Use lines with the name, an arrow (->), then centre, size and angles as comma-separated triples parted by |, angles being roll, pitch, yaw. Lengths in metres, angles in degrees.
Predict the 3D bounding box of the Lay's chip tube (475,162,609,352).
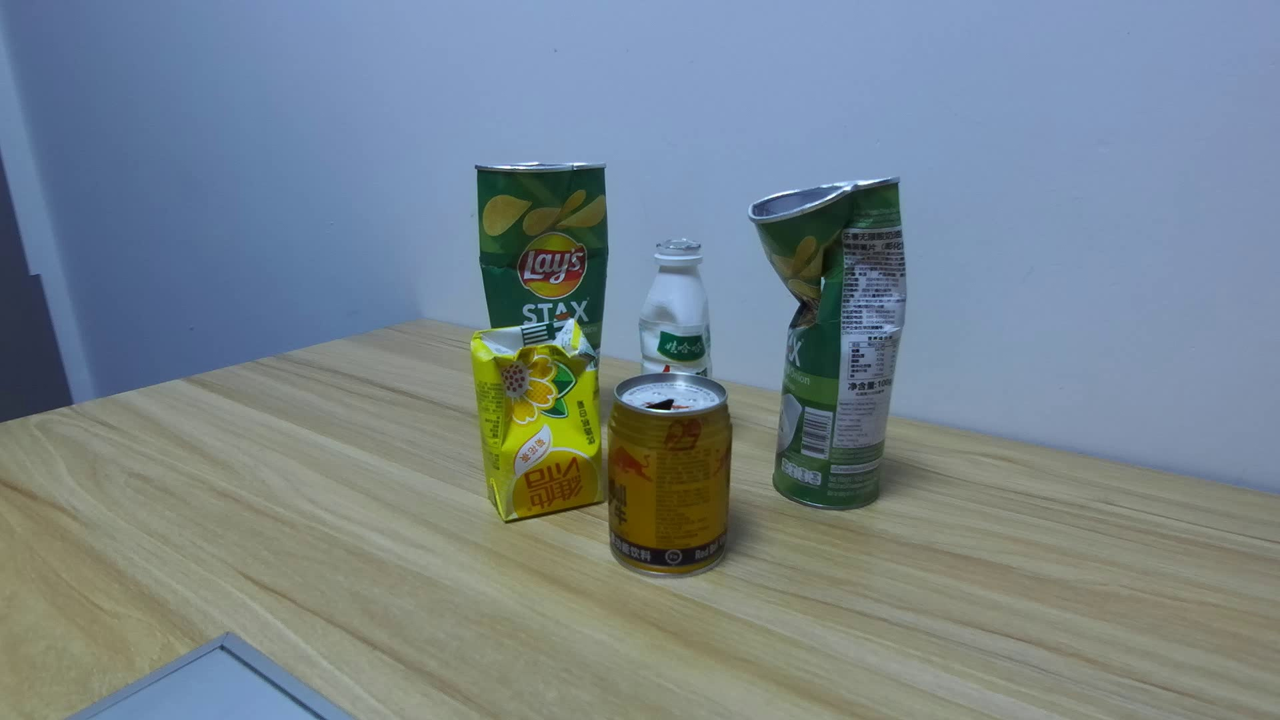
Lay's chip tube -> -0.069, -0.043, 0.530 | 0.068, 0.199, 0.075 | 11, 20, 32

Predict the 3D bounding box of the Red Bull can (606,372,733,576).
Red Bull can -> 0.017, 0.059, 0.381 | 0.067, 0.093, 0.067 | 1, 18, 0

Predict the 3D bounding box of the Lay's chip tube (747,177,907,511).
Lay's chip tube -> 0.112, -0.008, 0.432 | 0.071, 0.199, 0.078 | -14, 20, -19

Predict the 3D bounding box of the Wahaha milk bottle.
Wahaha milk bottle -> 0.027, -0.010, 0.505 | 0.055, 0.149, 0.055 | -1, 17, 1

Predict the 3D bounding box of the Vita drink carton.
Vita drink carton -> -0.060, 0.036, 0.430 | 0.071, 0.109, 0.046 | -8, 17, -24
